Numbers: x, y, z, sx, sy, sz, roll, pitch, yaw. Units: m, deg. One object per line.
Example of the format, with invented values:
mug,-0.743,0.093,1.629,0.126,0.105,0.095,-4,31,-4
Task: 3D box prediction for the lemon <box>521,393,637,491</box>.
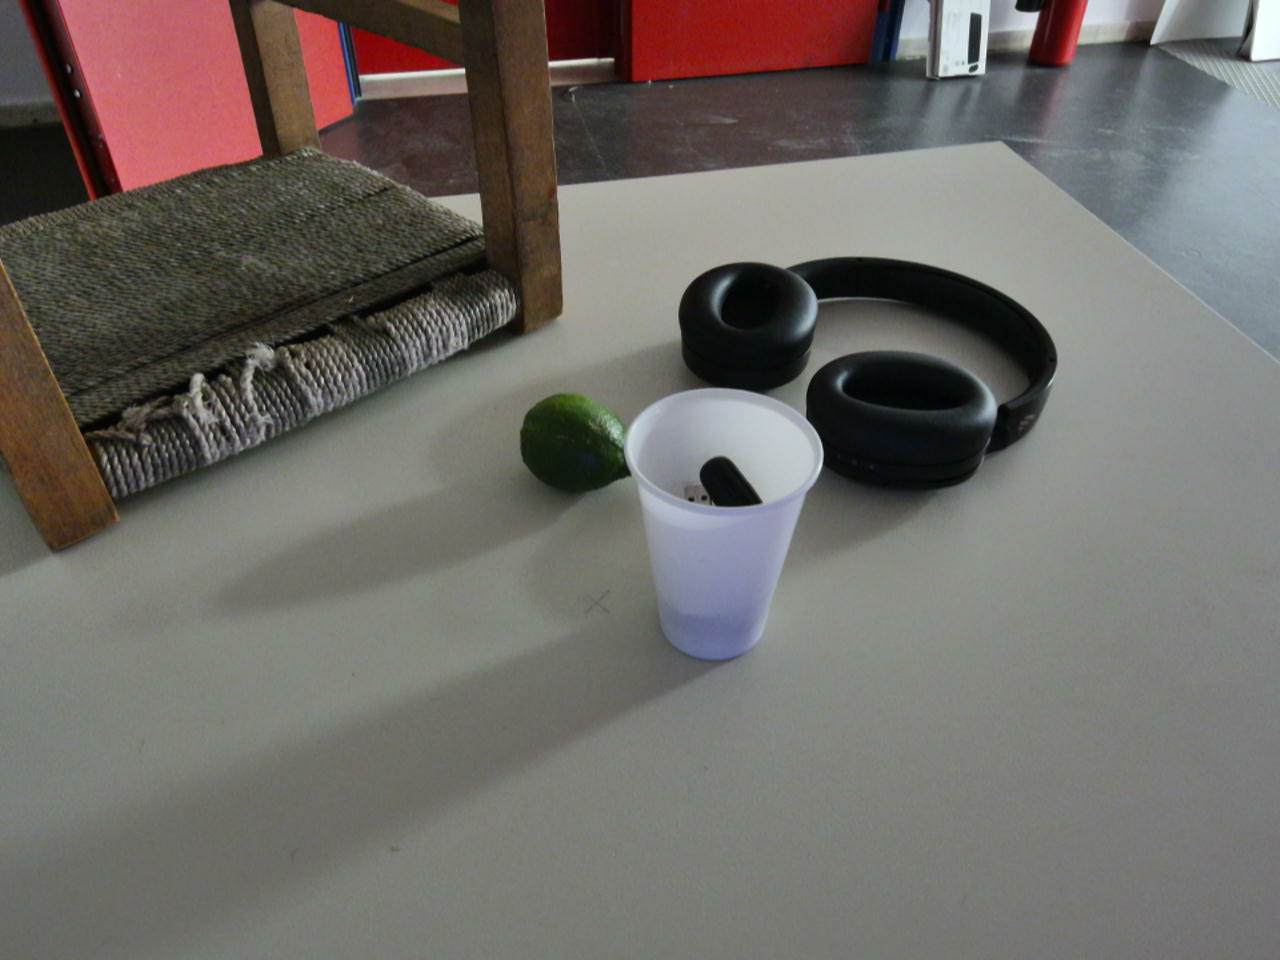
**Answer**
lemon,-0.034,-0.021,0.526,0.057,0.051,0.054,-11,40,-13
